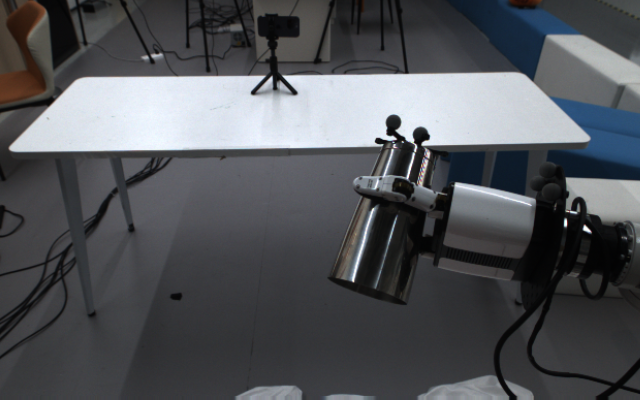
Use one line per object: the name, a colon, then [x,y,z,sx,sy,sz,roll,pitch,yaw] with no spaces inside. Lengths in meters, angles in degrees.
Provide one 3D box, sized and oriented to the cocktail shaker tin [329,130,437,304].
cocktail shaker tin: [0.080,0.023,0.549,0.093,0.093,0.170,15,75,17]
